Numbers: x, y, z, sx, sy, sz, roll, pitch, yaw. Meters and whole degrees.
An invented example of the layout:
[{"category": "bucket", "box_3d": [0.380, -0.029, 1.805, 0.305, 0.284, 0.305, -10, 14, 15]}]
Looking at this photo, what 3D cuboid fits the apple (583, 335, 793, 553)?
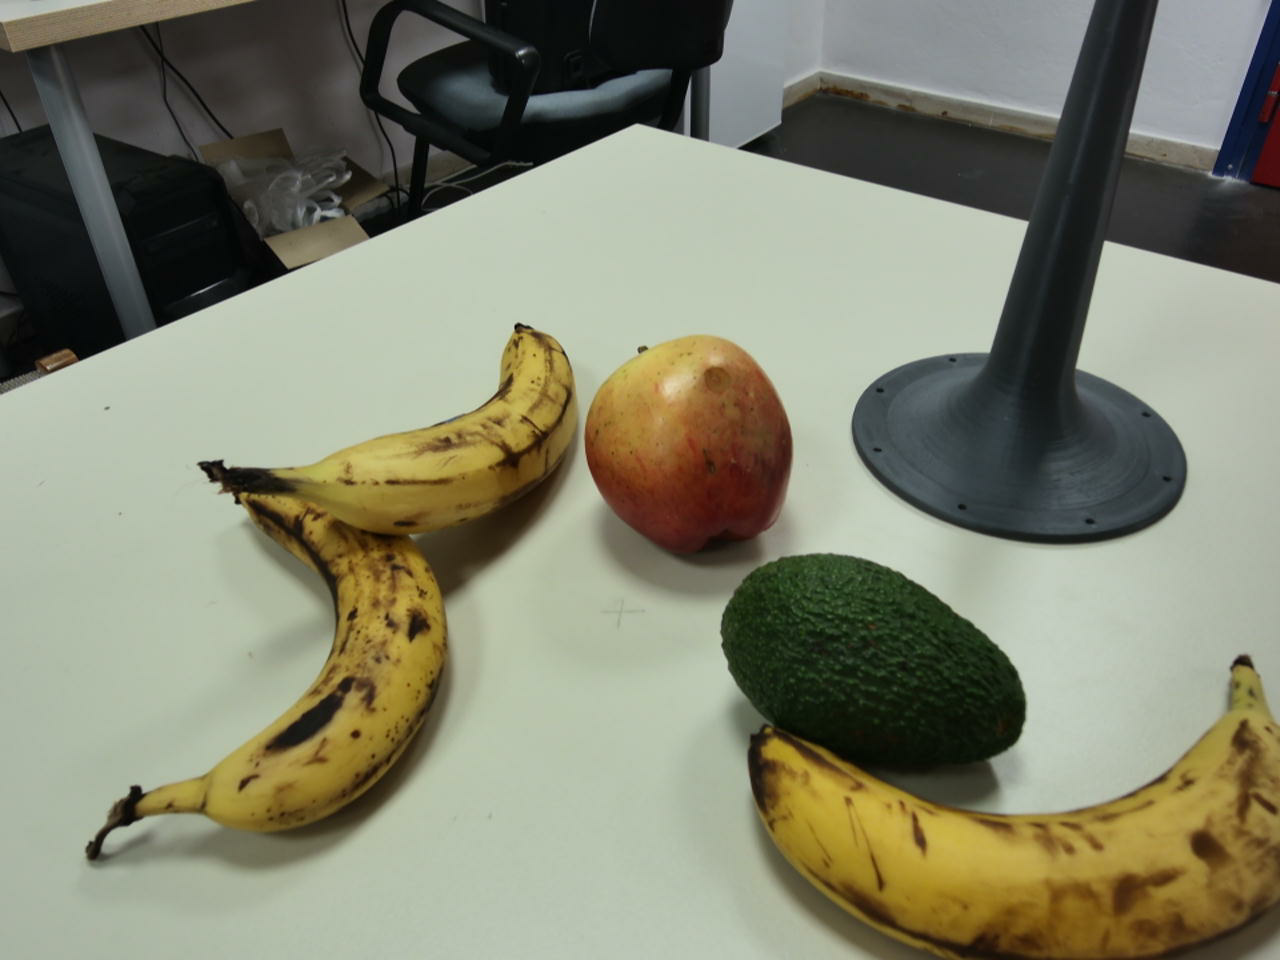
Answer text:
[{"category": "apple", "box_3d": [0.020, -0.017, 0.416, 0.086, 0.084, 0.093, 1, 36, 4]}]
